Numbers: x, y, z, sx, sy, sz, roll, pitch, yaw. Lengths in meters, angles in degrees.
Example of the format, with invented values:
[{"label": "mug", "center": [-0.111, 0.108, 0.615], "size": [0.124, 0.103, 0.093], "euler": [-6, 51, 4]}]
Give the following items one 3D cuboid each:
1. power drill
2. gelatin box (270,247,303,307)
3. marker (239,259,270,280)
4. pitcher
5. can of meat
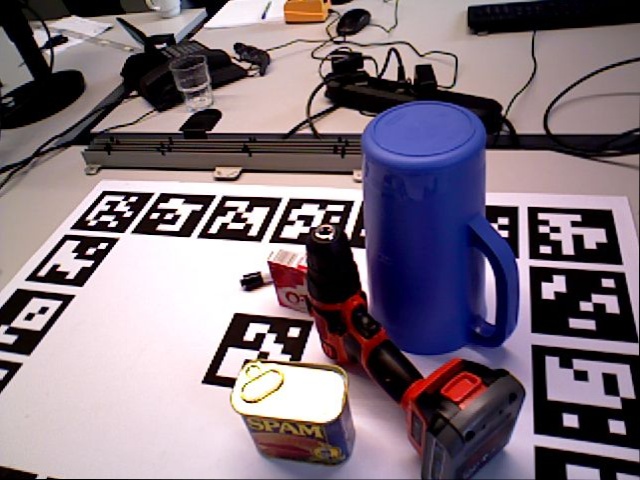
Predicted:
[{"label": "power drill", "center": [0.054, 0.080, 0.486], "size": [0.056, 0.188, 0.187], "euler": [-37, 54, -23]}, {"label": "gelatin box", "center": [-0.007, 0.049, 0.617], "size": [0.090, 0.074, 0.029], "euler": [13, 51, 23]}, {"label": "marker", "center": [-0.044, 0.027, 0.686], "size": [0.120, 0.020, 0.019], "euler": [-16, 43, -2]}, {"label": "pitcher", "center": [0.121, -0.004, 0.525], "size": [0.131, 0.246, 0.189], "euler": [-39, 42, -23]}, {"label": "can of meat", "center": [-0.019, 0.154, 0.493], "size": [0.102, 0.085, 0.056], "euler": [3, 42, 15]}]
